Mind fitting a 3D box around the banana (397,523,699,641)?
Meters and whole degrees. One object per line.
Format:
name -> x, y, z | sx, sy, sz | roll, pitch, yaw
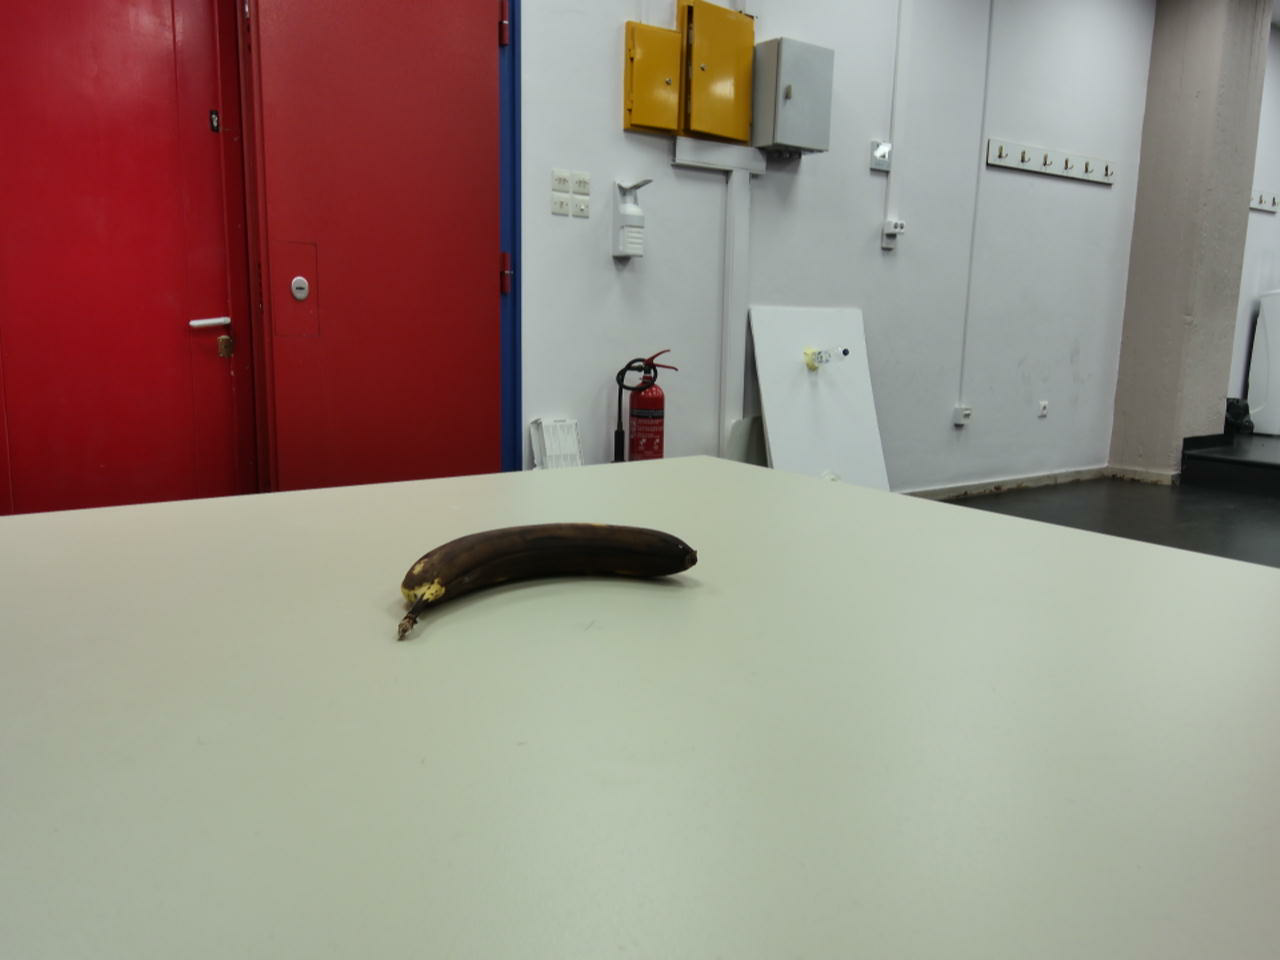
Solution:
banana -> -0.062, 0.047, 0.570 | 0.188, 0.033, 0.091 | -5, 9, -35
